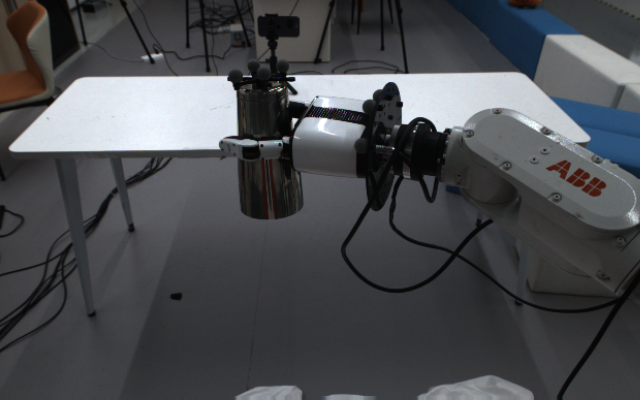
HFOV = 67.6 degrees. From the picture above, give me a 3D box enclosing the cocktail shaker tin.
[{"bbox_3d":[-0.070,-0.070,0.656,0.093,0.170,0.093,-2,26,1],"label":"cocktail shaker tin"}]
